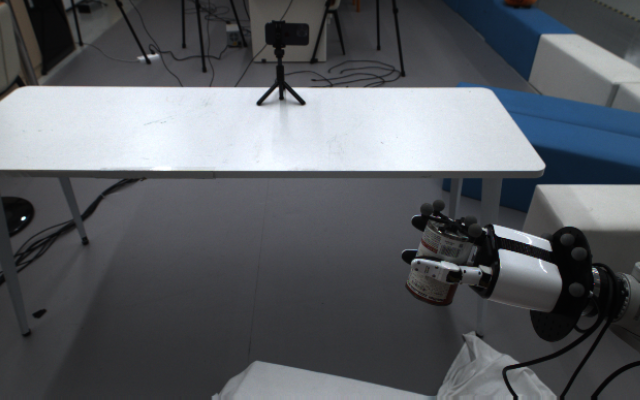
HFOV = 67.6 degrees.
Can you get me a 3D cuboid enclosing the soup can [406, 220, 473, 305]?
[{"bbox_3d":[0.166,0.083,0.663,0.067,0.101,0.067,13,18,-4],"label":"soup can"}]
